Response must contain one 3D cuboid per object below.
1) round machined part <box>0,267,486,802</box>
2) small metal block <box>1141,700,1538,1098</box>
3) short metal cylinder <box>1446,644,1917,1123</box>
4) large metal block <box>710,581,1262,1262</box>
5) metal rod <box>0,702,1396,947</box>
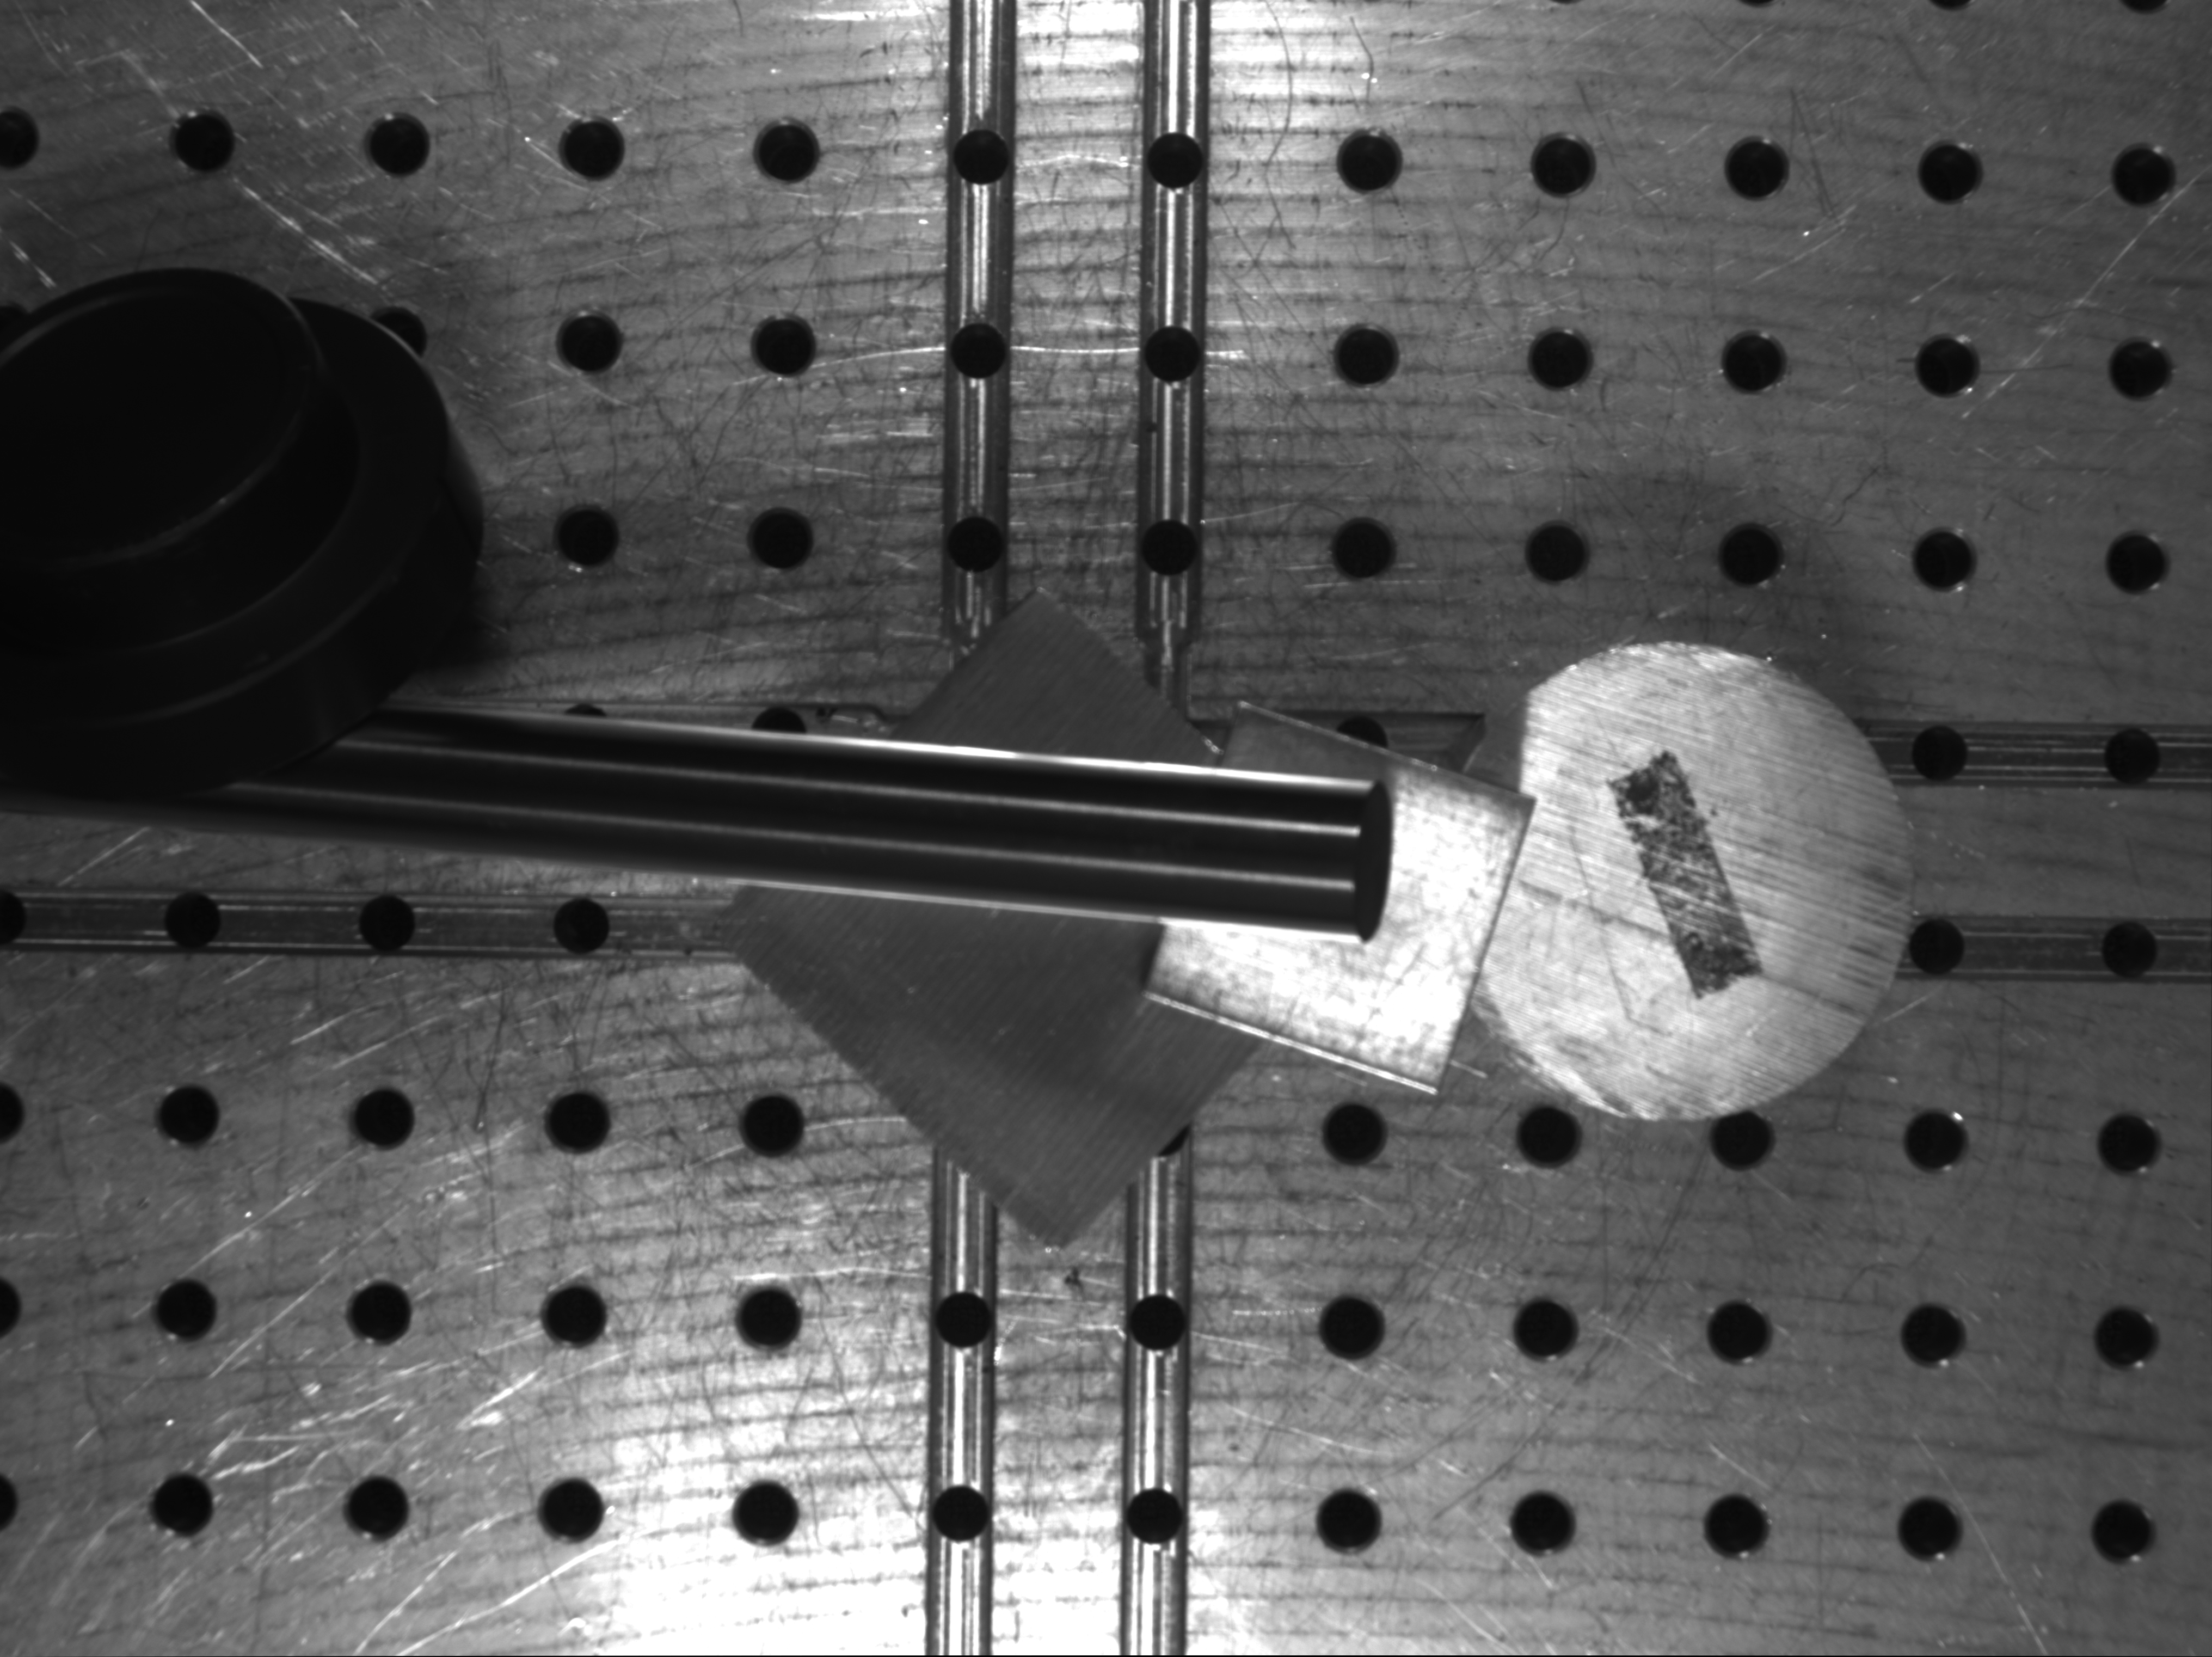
[{"bbox_3d":[-0.157,-0.055,0.611,0.098,0.042,0.098,-7,51,8],"label":"round machined part"},{"bbox_3d":[0.037,0.011,0.596,0.050,0.025,0.050,19,90,0],"label":"small metal block"},{"bbox_3d":[0.095,0.009,0.636,0.080,0.050,0.080,0,90,0],"label":"short metal cylinder"},{"bbox_3d":[-0.009,0.015,0.633,0.080,0.050,0.080,44,90,0],"label":"large metal block"},{"bbox_3d":[-0.101,-0.007,0.603,0.300,0.025,0.025,5,90,17],"label":"metal rod"}]
